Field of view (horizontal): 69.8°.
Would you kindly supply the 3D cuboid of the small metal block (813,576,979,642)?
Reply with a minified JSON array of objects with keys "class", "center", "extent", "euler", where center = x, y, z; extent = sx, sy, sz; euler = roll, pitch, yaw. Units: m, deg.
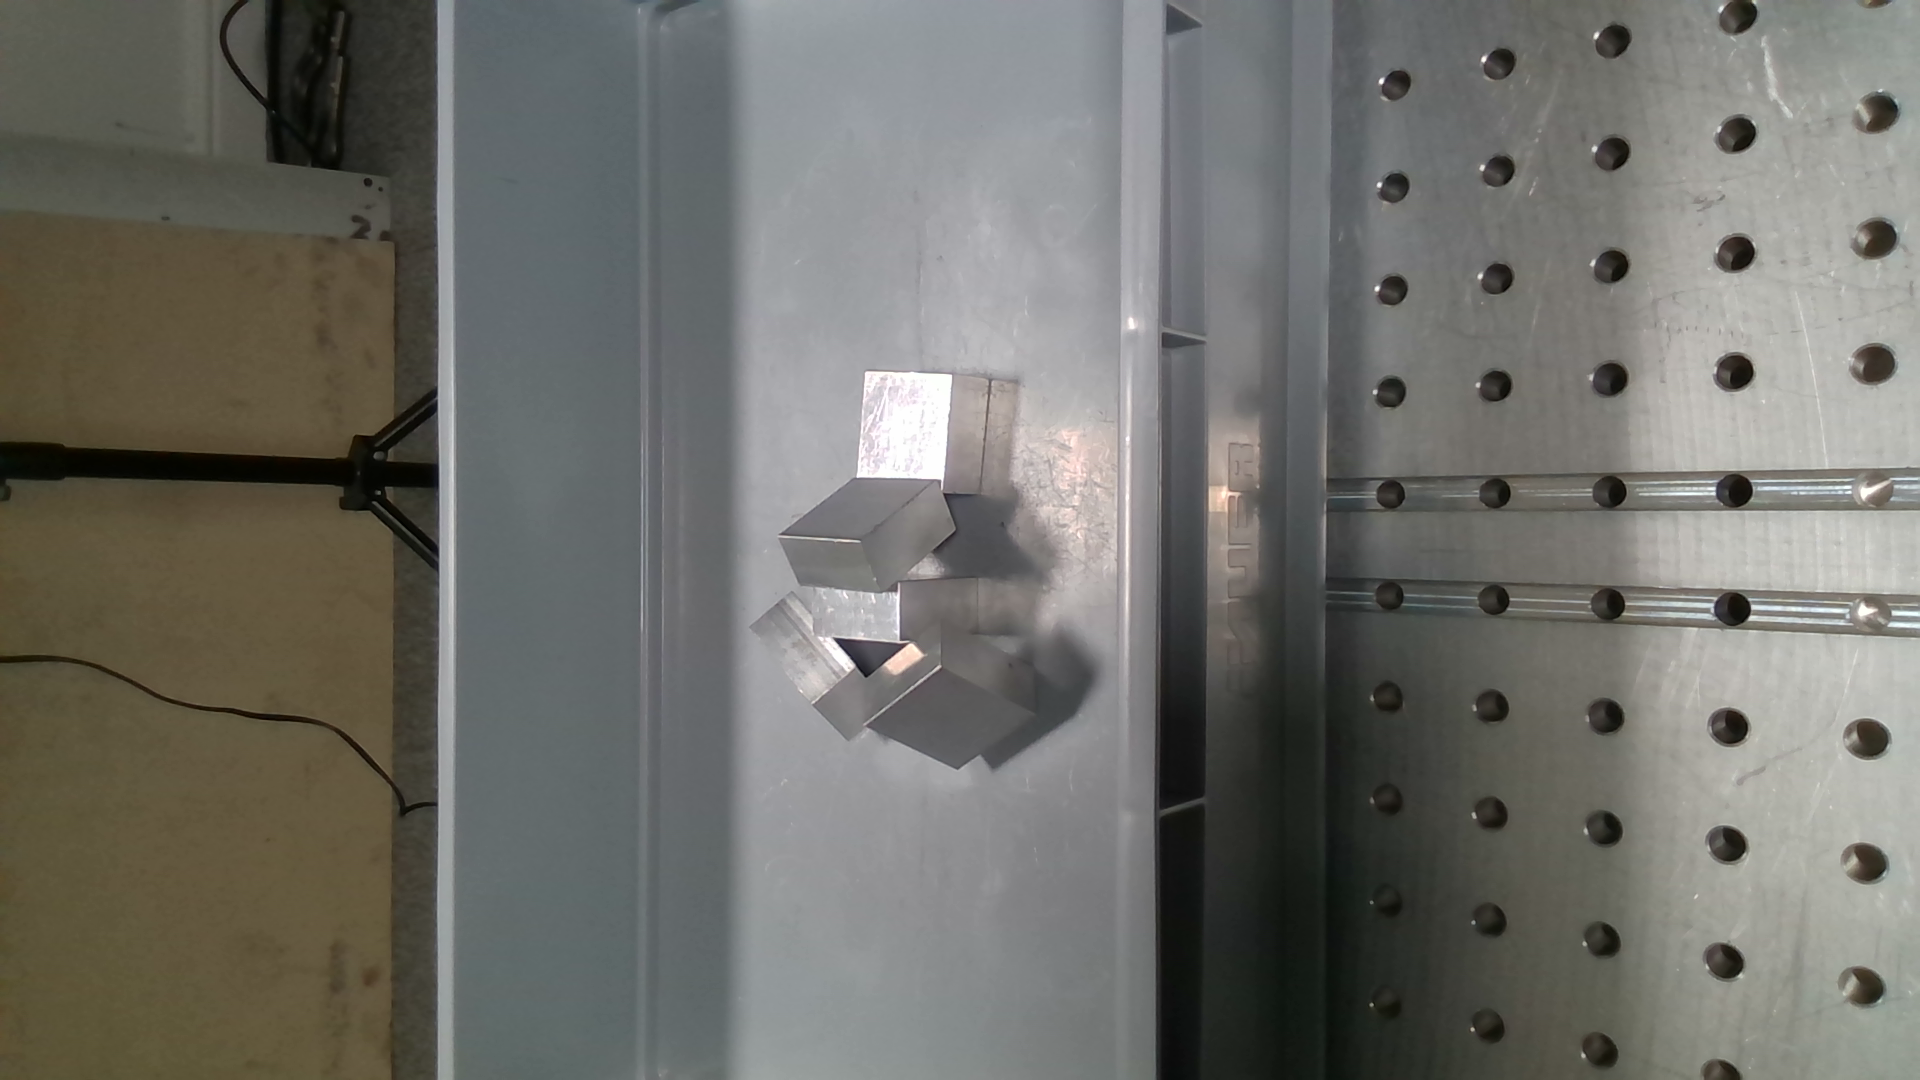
[{"class":"small metal block","center":[-0.027,0.028,0.588],"extent":[0.050,0.050,0.025],"euler":[1,91,40]}]

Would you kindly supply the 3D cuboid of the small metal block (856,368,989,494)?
[{"class":"small metal block","center":[-0.017,-0.047,0.593],"extent":[0.050,0.025,0.050],"euler":[8,96,40]}]

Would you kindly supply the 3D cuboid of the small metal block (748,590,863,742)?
[{"class":"small metal block","center":[-0.062,0.057,0.614],"extent":[0.025,0.050,0.050],"euler":[-41,60,-6]}]

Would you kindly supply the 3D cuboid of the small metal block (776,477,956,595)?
[{"class":"small metal block","center":[-0.039,-0.003,0.573],"extent":[0.050,0.050,0.025],"euler":[3,124,43]}]

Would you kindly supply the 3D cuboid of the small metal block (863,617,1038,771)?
[{"class":"small metal block","center":[-0.004,0.064,0.565],"extent":[0.050,0.050,0.025],"euler":[-40,34,33]}]
